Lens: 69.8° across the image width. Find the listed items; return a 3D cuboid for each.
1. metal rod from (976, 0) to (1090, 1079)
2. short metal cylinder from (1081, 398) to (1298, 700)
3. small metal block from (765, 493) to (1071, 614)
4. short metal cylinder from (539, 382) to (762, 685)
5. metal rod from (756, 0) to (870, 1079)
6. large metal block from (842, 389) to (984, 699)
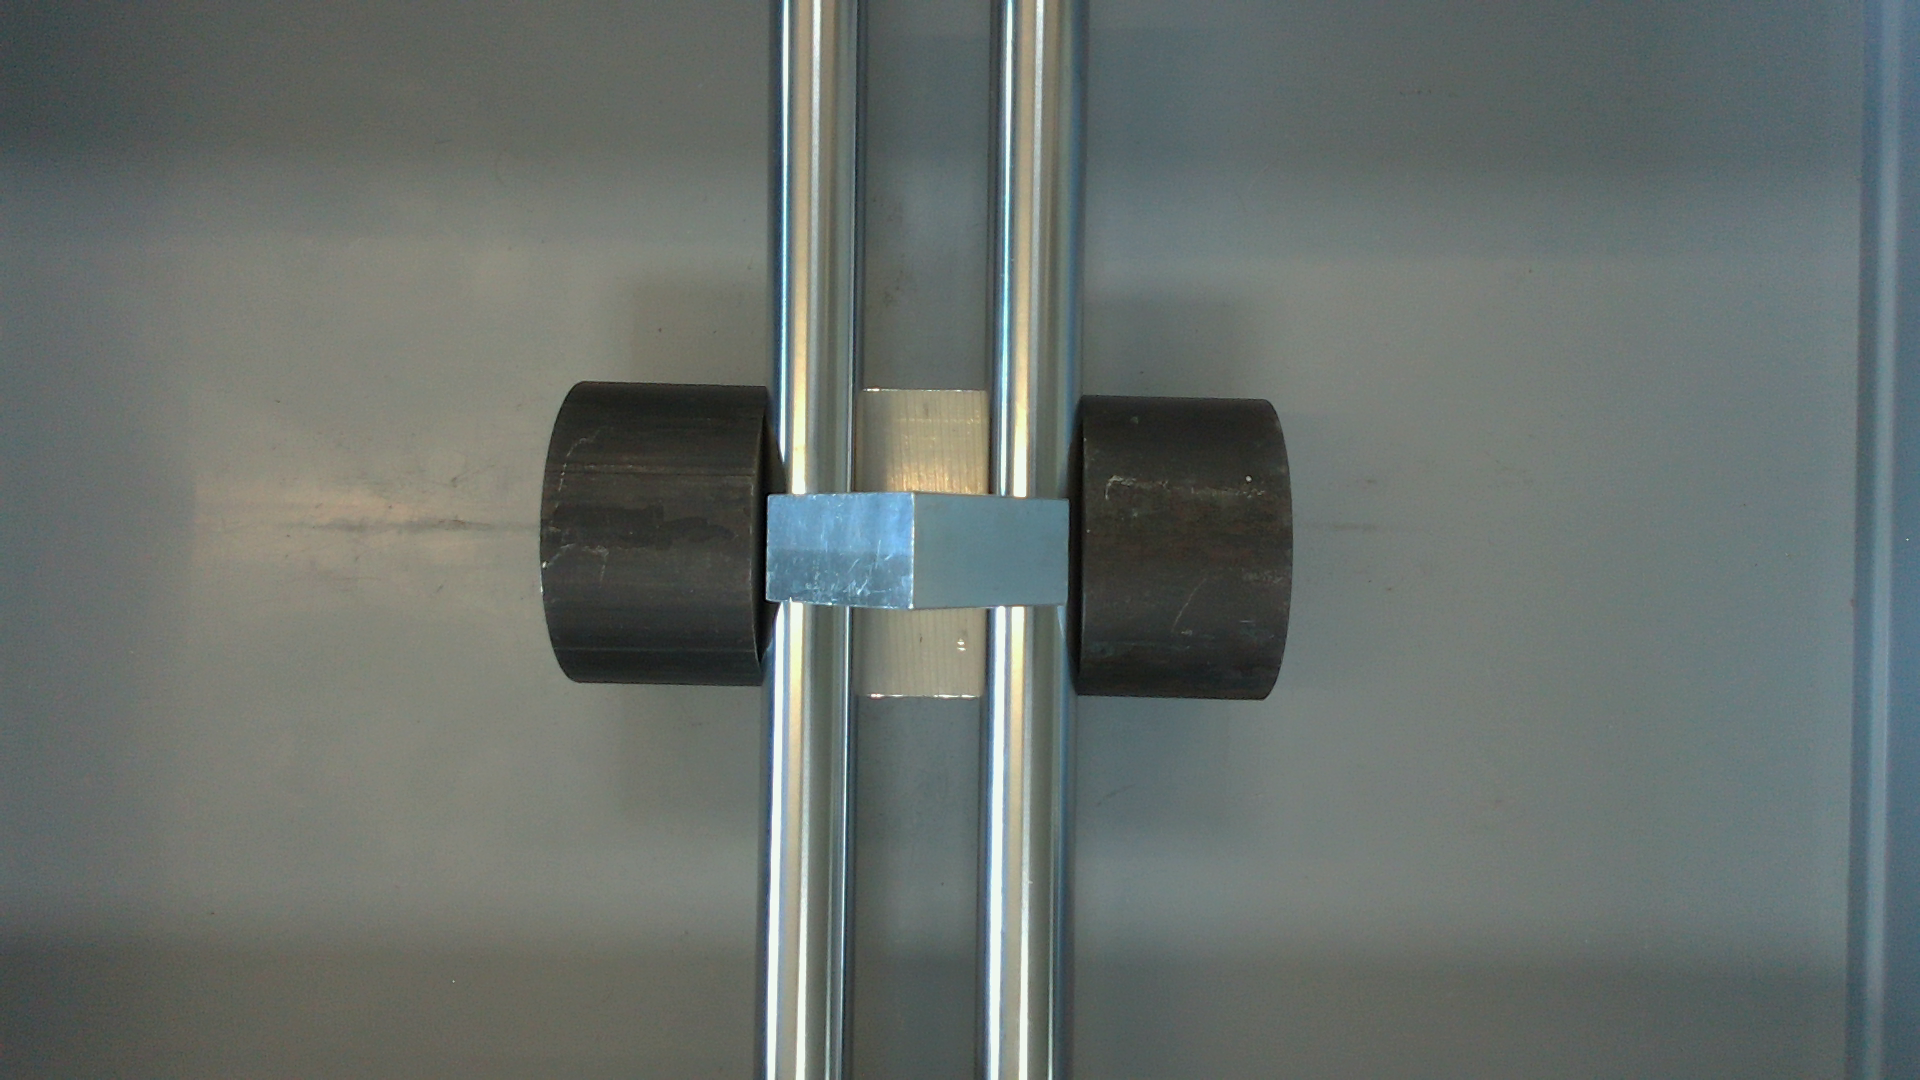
[{"bbox_3d":[0.018,0.003,0.345,0.025,0.025,0.300,1,90,0],"label":"metal rod"},{"bbox_3d":[0.056,0.003,0.366,0.050,0.080,0.080,1,90,1],"label":"short metal cylinder"},{"bbox_3d":[-0.010,0.002,0.319,0.050,0.050,0.025,1,91,44],"label":"small metal block"},{"bbox_3d":[-0.075,-0.001,0.367,0.050,0.080,0.080,1,90,0],"label":"short metal cylinder"},{"bbox_3d":[-0.037,0.005,0.344,0.025,0.025,0.300,1,90,0],"label":"metal rod"},{"bbox_3d":[-0.010,0.001,0.381,0.080,0.050,0.080,1,90,0],"label":"large metal block"}]
